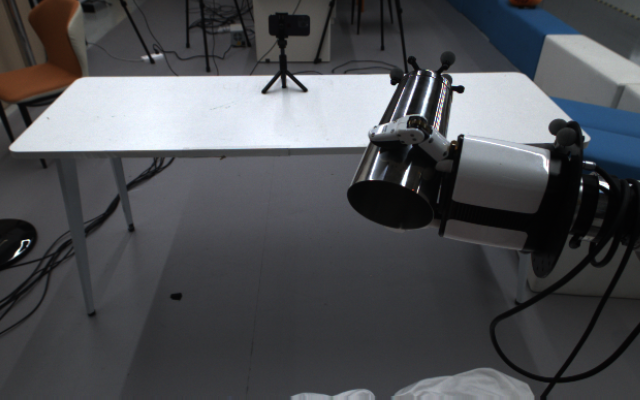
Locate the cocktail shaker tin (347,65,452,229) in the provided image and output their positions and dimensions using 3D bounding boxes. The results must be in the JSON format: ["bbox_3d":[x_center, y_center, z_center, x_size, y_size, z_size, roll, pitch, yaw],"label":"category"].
[{"bbox_3d":[0.099,-0.063,0.540,0.093,0.093,0.170,13,60,16],"label":"cocktail shaker tin"}]
